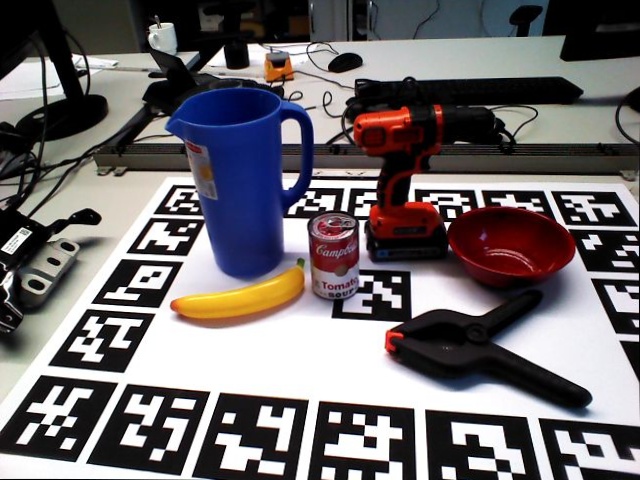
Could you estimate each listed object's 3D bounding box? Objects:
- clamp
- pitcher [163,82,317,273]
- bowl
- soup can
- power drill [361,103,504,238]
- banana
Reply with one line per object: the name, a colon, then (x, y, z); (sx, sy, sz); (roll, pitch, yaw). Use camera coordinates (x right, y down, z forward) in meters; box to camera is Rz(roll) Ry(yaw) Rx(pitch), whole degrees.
clamp: (0.179, 0.106, 0.573); (0.203, 0.037, 0.164); (-1, 41, 6)
pitcher: (-0.093, -0.082, 0.699); (0.188, 0.243, 0.133); (-14, 34, -12)
bowl: (0.256, 0.010, 0.687); (0.162, 0.055, 0.161); (-4, 38, 3)
soup can: (0.025, 0.013, 0.676); (0.068, 0.102, 0.067); (-3, 28, 1)
power drill: (0.149, -0.093, 0.698); (0.185, 0.187, 0.057); (-2, 37, 4)
banana: (-0.102, 0.068, 0.673); (0.197, 0.039, 0.074); (-13, 29, -13)
